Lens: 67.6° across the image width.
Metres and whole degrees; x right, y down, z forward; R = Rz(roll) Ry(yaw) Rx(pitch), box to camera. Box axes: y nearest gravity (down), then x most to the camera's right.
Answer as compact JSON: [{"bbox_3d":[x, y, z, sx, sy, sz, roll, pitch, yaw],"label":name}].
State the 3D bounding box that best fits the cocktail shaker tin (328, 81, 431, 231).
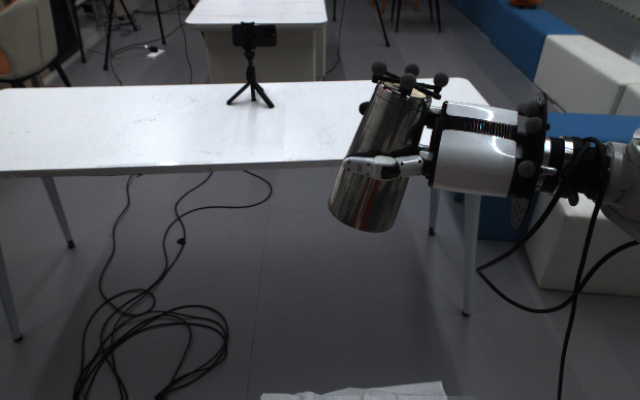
[{"bbox_3d":[0.078,-0.057,0.596,0.093,0.170,0.093,12,29,-7],"label":"cocktail shaker tin"}]
